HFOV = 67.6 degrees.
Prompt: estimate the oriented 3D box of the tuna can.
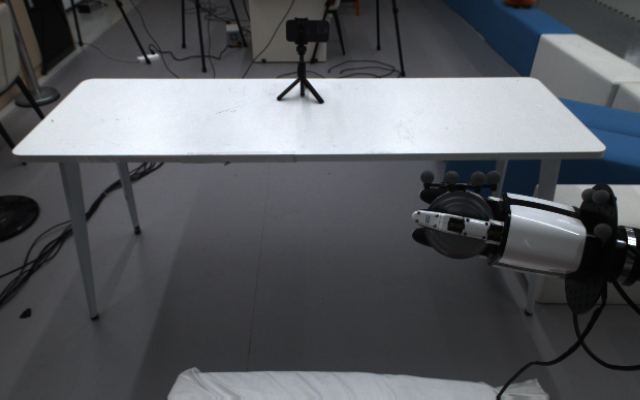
[{"bbox_3d":[0.178,0.028,0.615,0.085,0.085,0.034,12,8,15],"label":"tuna can"}]
